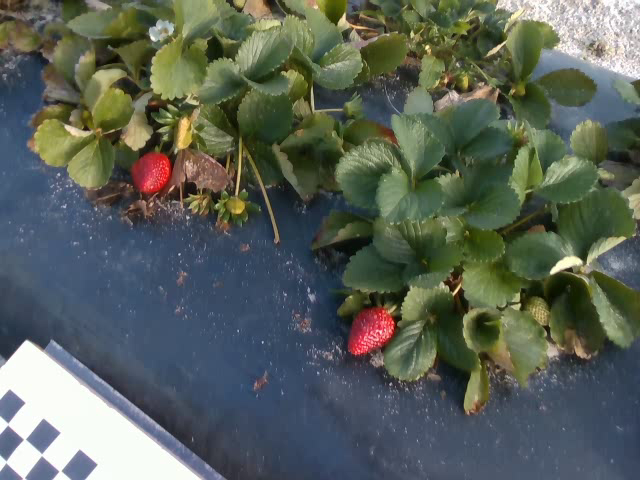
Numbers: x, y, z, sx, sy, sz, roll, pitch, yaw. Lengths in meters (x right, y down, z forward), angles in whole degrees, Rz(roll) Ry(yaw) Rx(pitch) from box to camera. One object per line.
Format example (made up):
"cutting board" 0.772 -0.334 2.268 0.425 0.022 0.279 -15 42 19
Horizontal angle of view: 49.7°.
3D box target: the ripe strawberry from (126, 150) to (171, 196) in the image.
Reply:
"ripe strawberry" -0.111 -0.042 0.438 0.031 0.026 0.030 -4 42 4

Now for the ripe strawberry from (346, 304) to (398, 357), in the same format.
"ripe strawberry" 0.026 0.052 0.380 0.029 0.036 0.021 30 -29 25
